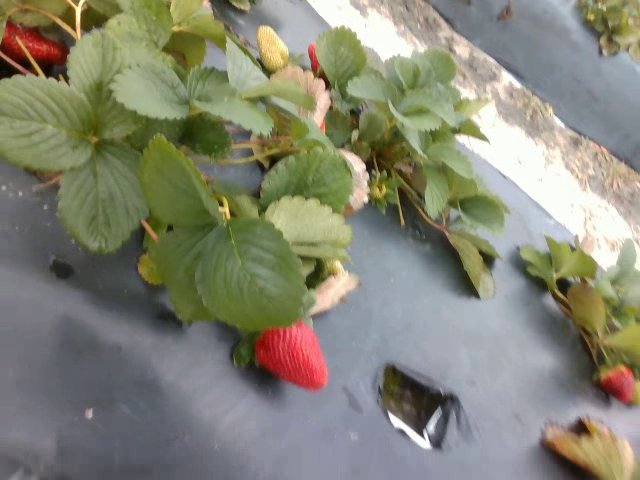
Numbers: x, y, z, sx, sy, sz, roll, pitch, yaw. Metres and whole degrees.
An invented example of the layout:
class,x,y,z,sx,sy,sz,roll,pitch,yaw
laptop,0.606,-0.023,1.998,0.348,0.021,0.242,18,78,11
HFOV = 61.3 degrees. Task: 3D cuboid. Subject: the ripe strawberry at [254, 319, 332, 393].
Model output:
class,x,y,z,sx,sy,sz,roll,pitch,yaw
ripe strawberry,-0.020,0.083,0.371,0.064,0.046,0.048,51,10,29
